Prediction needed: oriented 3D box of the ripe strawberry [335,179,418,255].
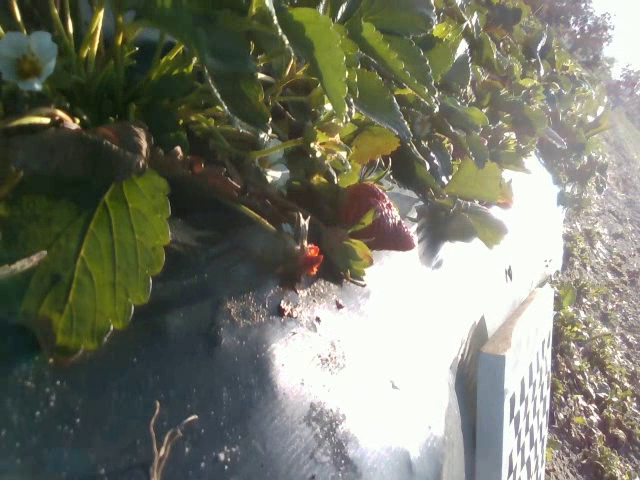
[{"bbox_3d":[0.037,-0.008,0.363,0.051,0.041,0.052,27,44,5],"label":"ripe strawberry"}]
